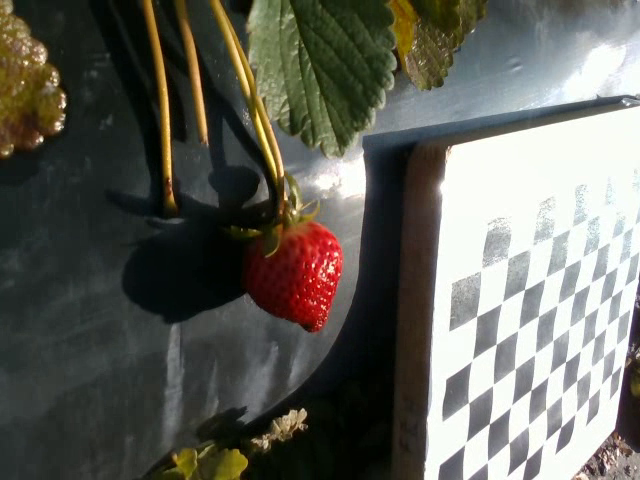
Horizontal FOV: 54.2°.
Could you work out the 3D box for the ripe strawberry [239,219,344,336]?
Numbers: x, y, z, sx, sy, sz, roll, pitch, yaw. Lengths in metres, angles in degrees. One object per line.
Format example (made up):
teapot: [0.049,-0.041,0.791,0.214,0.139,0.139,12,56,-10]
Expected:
ripe strawberry: [-0.005,0.014,0.204,0.040,0.044,0.036,-37,24,-32]
